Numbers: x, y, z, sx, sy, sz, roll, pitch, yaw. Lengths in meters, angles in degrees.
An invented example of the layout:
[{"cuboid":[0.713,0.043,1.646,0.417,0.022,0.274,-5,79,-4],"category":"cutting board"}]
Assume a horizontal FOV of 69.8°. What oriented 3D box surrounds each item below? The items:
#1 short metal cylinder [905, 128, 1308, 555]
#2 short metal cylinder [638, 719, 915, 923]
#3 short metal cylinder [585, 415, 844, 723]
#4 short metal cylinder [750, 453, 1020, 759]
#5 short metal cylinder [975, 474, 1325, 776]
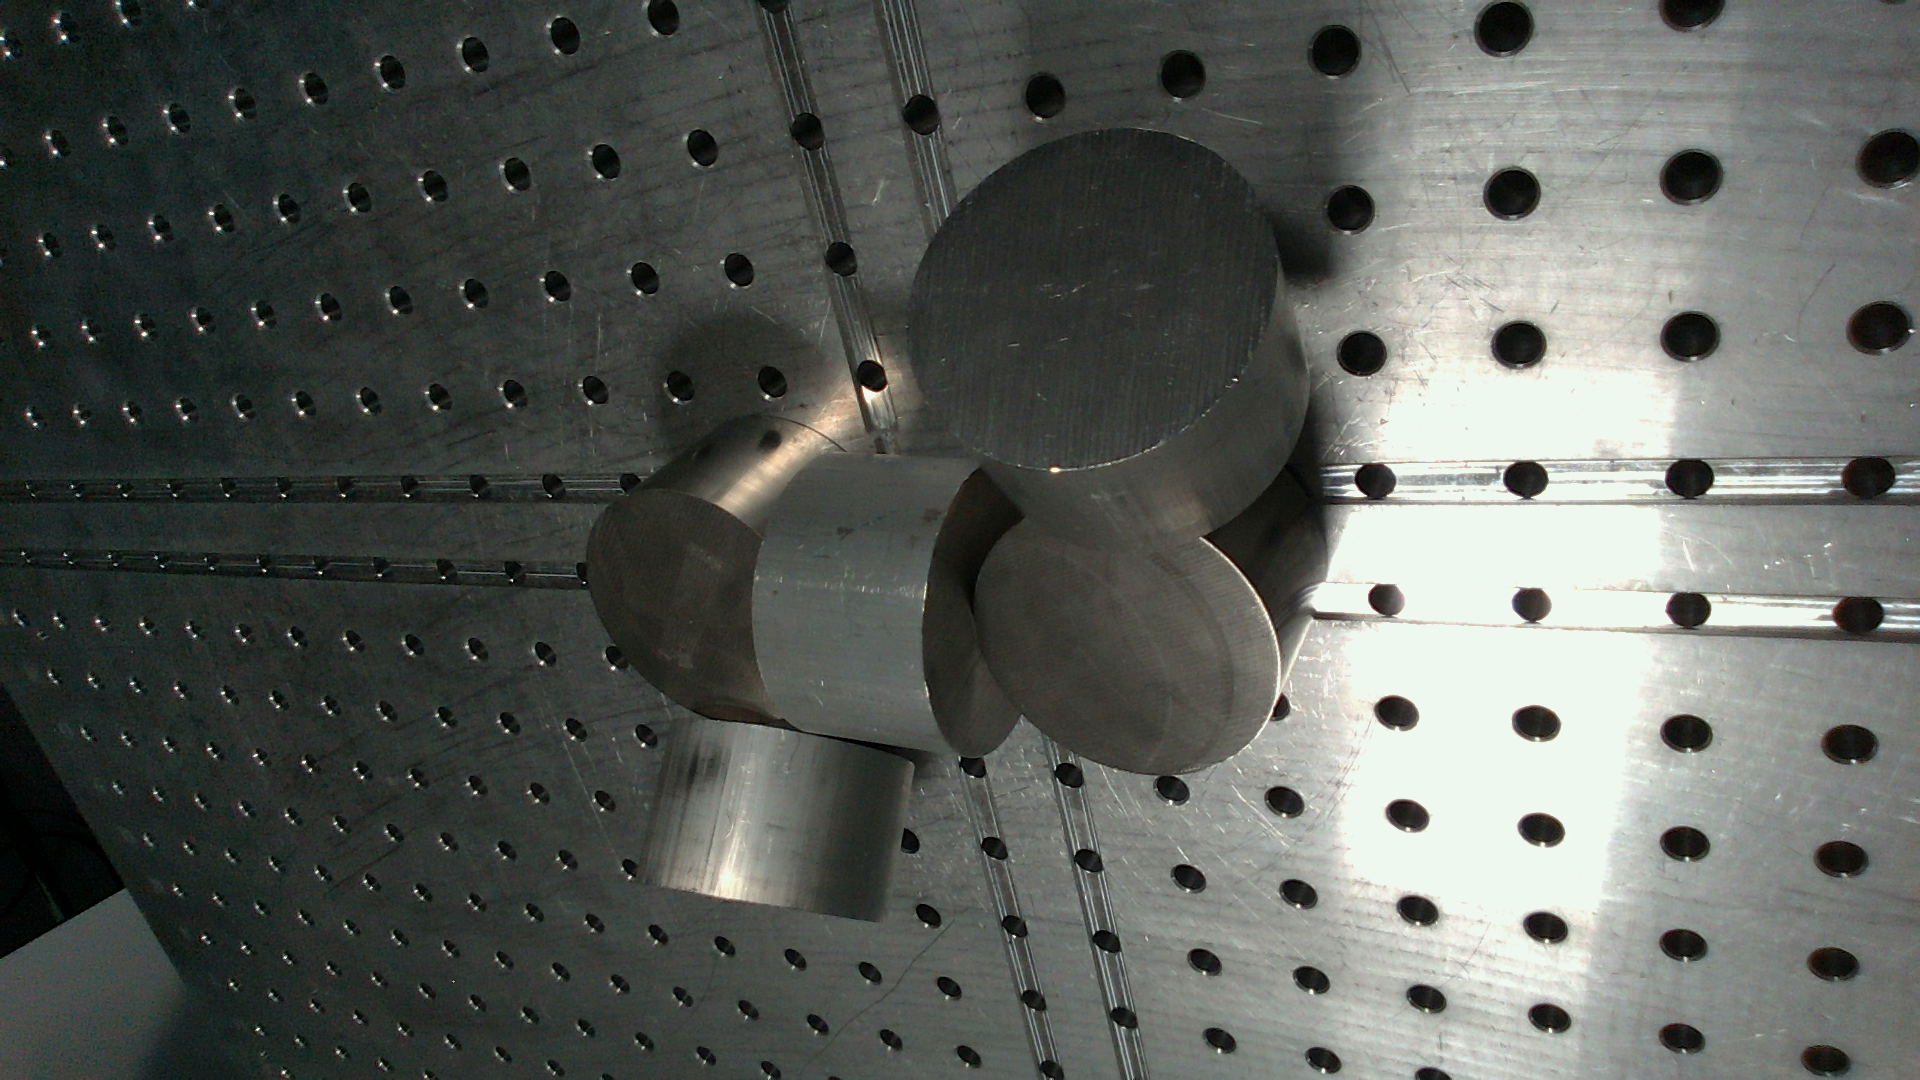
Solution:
[{"cuboid":[0.034,-0.043,0.307,0.080,0.080,0.050,8,164,24],"category":"short metal cylinder"},{"cuboid":[-0.058,0.090,0.440,0.080,0.050,0.080,9,165,3],"category":"short metal cylinder"},{"cuboid":[-0.066,0.009,0.420,0.080,0.050,0.080,13,124,21],"category":"short metal cylinder"},{"cuboid":[-0.014,0.017,0.378,0.050,0.080,0.080,5,121,26],"category":"short metal cylinder"},{"cuboid":[0.051,0.014,0.360,0.080,0.050,0.080,13,124,21],"category":"short metal cylinder"}]
